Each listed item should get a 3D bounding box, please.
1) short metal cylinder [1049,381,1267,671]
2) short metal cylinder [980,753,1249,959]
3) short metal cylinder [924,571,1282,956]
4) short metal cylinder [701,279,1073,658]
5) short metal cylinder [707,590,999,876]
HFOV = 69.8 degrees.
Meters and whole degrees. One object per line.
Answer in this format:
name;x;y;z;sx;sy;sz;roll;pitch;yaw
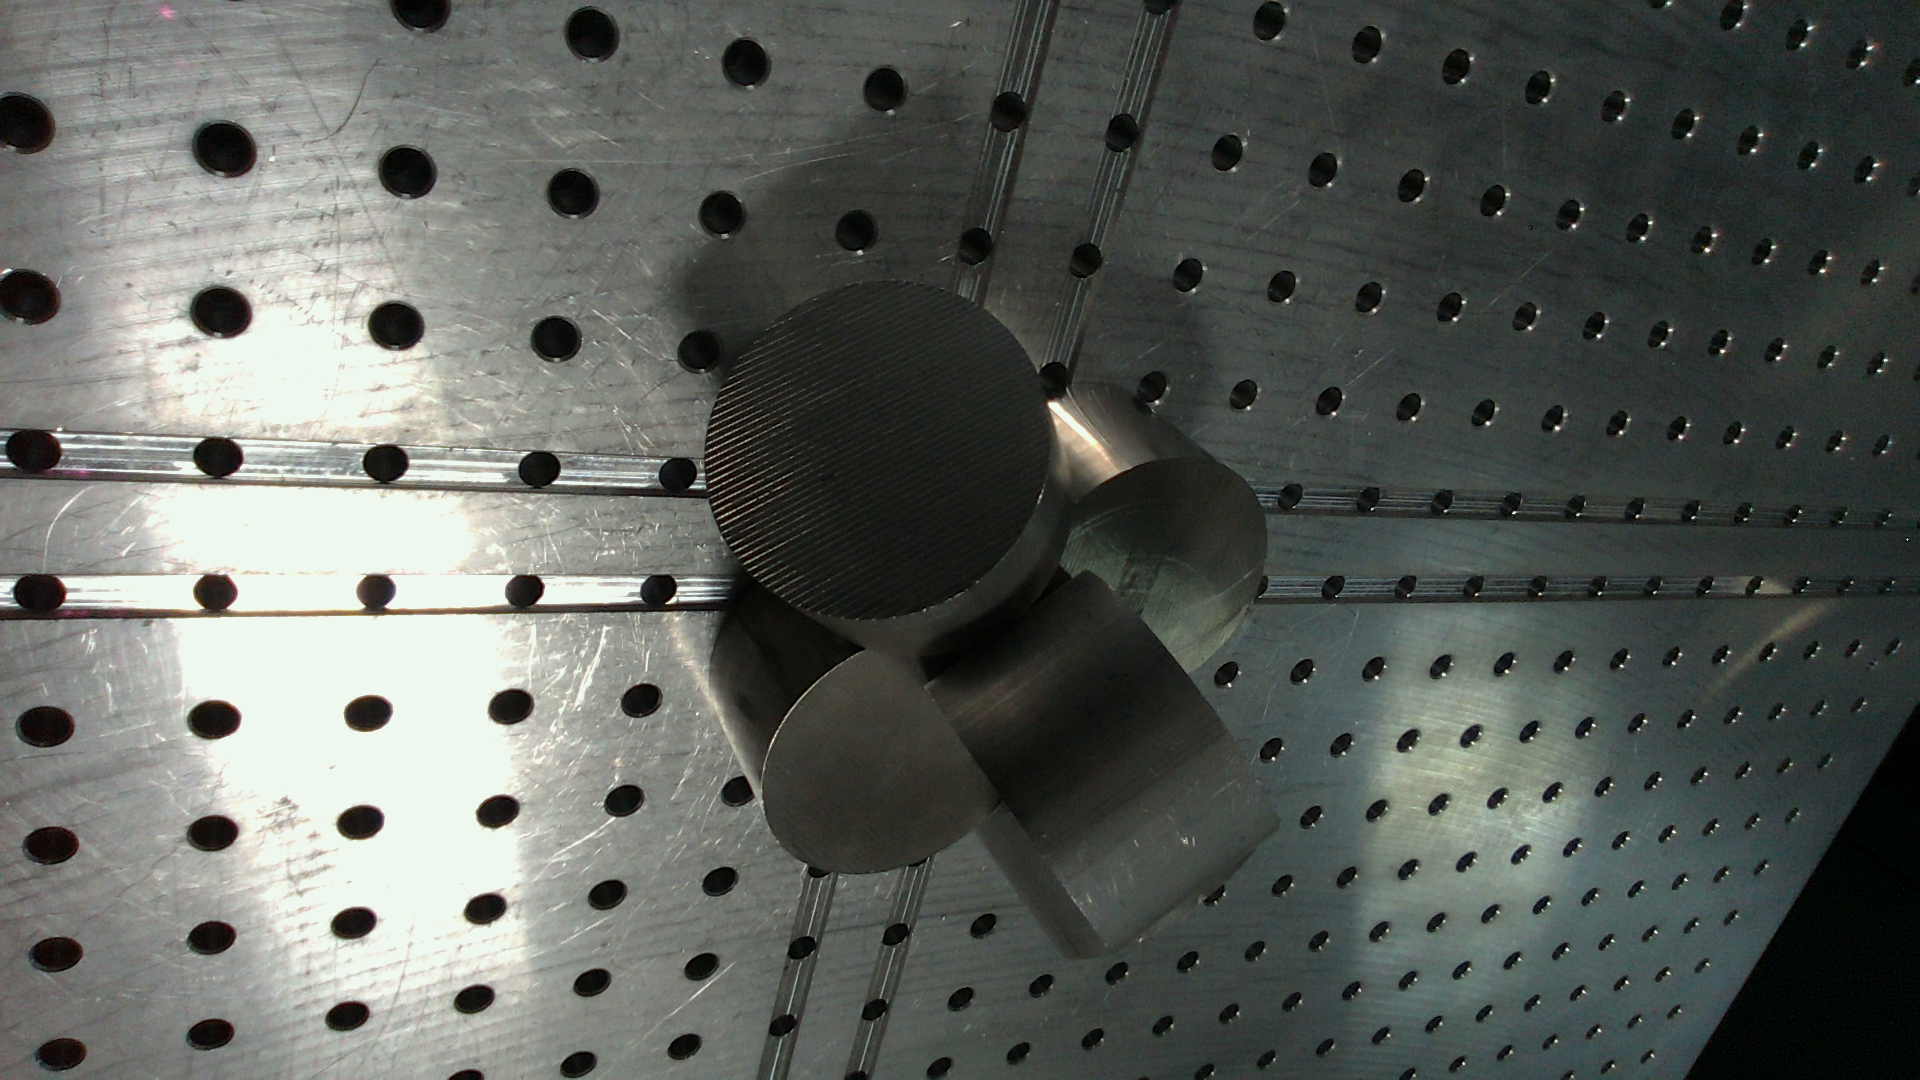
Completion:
short metal cylinder;0.041;0.001;0.398;0.080;0.050;0.080;-14;124;-21
short metal cylinder;0.048;0.082;0.424;0.080;0.080;0.050;-35;93;-5
short metal cylinder;0.034;0.055;0.343;0.050;0.080;0.080;-36;129;-4
short metal cylinder;-0.015;-0.015;0.330;0.080;0.080;0.050;-40;163;-1
short metal cylinder;-0.026;0.047;0.390;0.080;0.050;0.080;-14;124;-21
